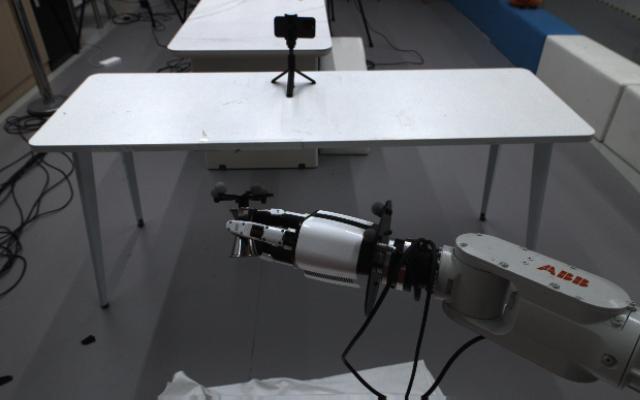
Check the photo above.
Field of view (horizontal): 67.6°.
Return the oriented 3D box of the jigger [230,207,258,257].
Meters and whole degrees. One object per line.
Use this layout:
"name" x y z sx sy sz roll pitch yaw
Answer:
"jigger" -0.108 0.047 0.685 0.043 0.071 0.043 -2 -7 0
